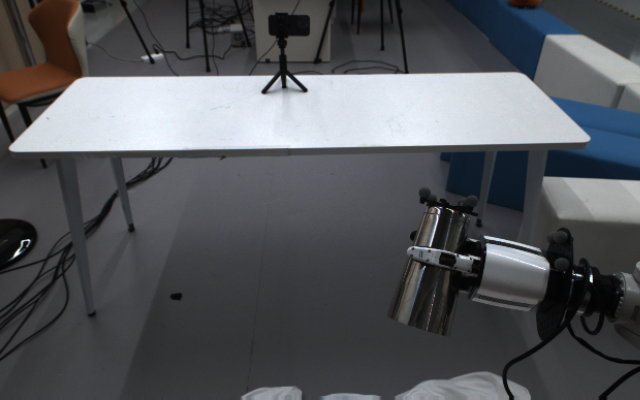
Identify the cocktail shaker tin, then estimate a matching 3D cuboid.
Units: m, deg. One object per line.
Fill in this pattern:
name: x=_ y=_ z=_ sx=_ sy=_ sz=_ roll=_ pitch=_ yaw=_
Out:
cocktail shaker tin: x=0.163 y=0.098 z=0.702 sx=0.093 sy=0.170 sz=0.093 roll=17 pitch=-6 yaw=2
